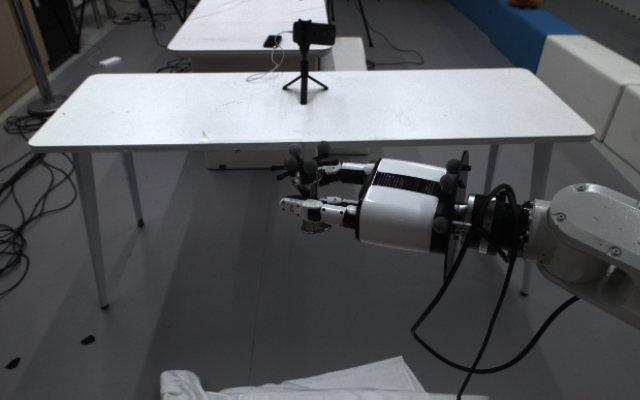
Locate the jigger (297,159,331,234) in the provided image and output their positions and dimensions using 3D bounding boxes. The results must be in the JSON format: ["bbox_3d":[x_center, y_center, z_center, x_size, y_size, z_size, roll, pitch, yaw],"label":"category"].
[{"bbox_3d":[-0.008,0.001,0.625,0.043,0.071,0.043,-10,23,5],"label":"jigger"}]
